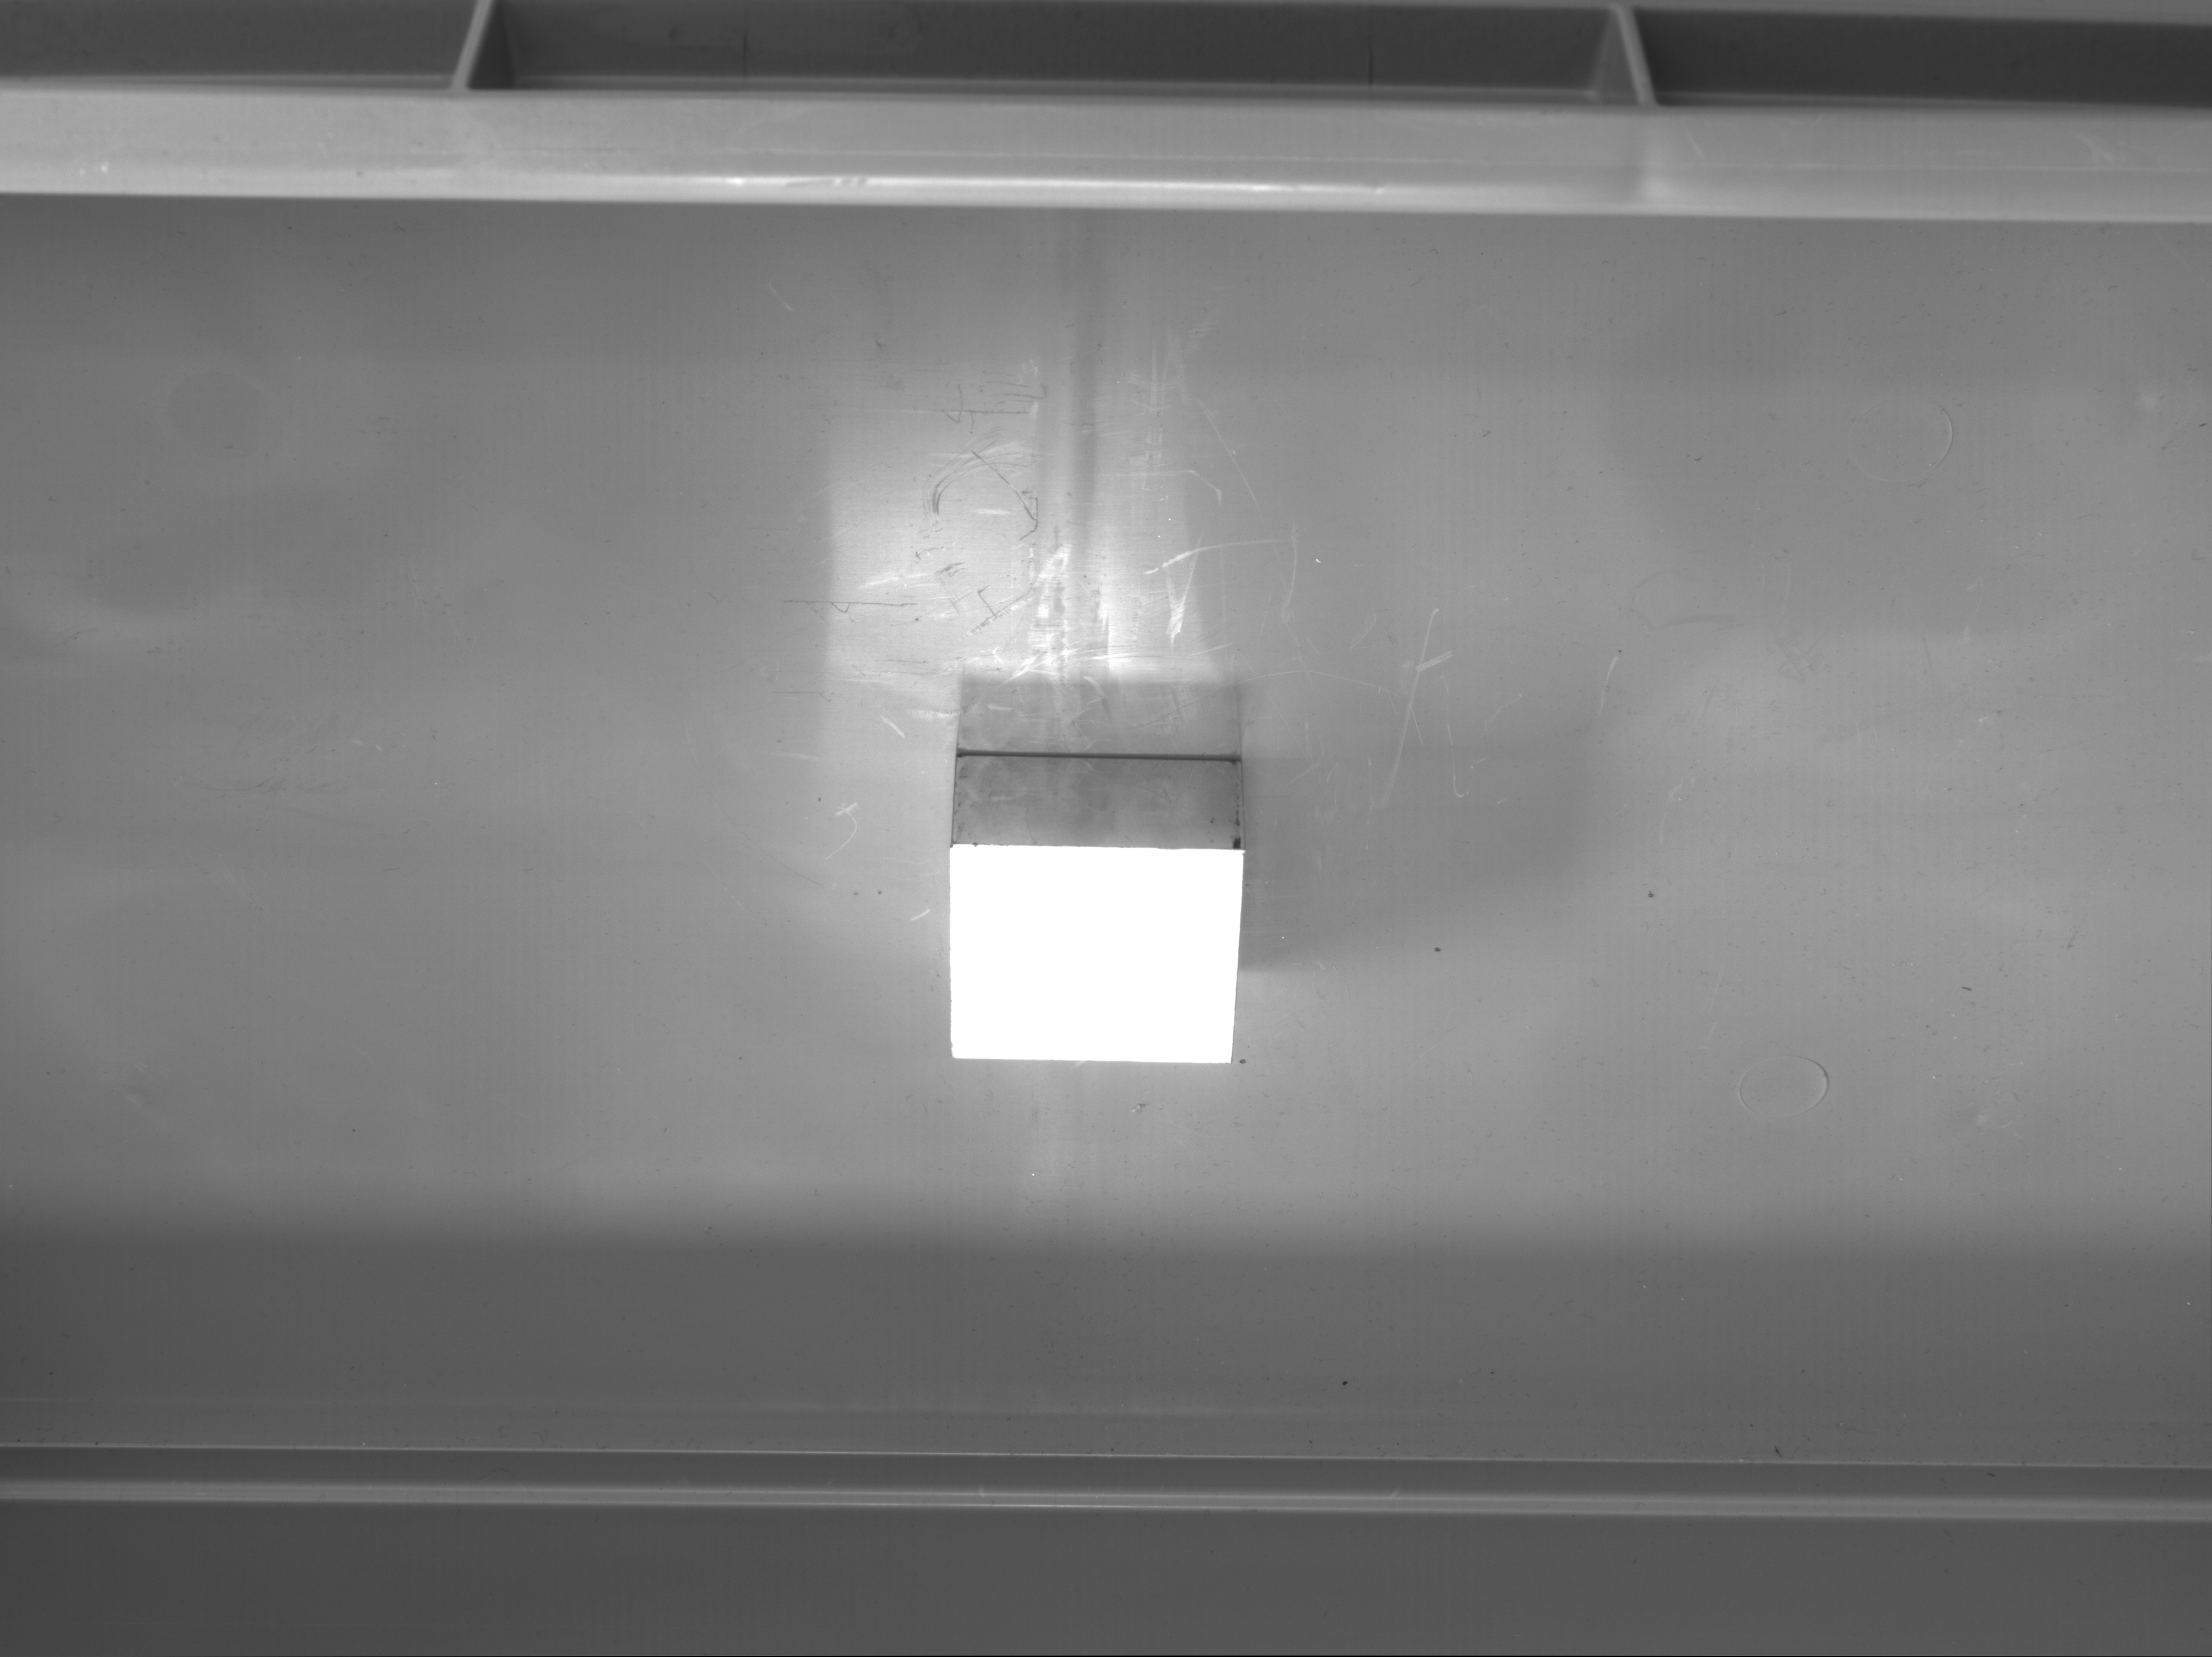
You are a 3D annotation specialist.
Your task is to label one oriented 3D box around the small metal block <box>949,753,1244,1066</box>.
[{"bbox_3d":[-0.002,0.015,0.648,0.050,0.025,0.050,1,130,-1],"label":"small metal block"}]
